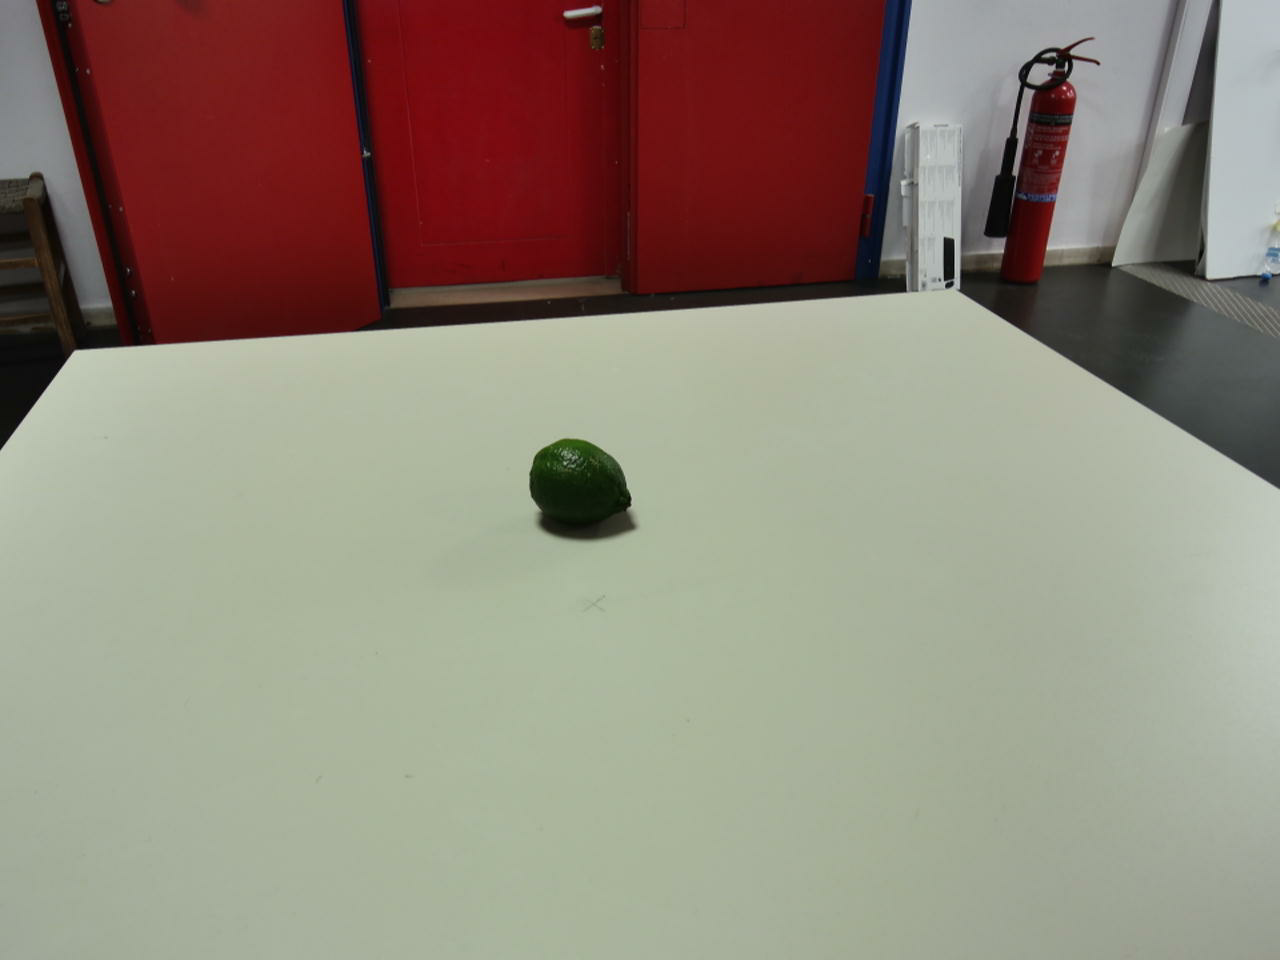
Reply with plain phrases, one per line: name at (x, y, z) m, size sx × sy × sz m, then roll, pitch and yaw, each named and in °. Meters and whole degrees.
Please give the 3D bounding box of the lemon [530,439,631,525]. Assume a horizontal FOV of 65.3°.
lemon at (-0.038, 0.000, 0.599) m, size 0.057 × 0.051 × 0.054 m, roll -8°, pitch 27°, yaw -15°
